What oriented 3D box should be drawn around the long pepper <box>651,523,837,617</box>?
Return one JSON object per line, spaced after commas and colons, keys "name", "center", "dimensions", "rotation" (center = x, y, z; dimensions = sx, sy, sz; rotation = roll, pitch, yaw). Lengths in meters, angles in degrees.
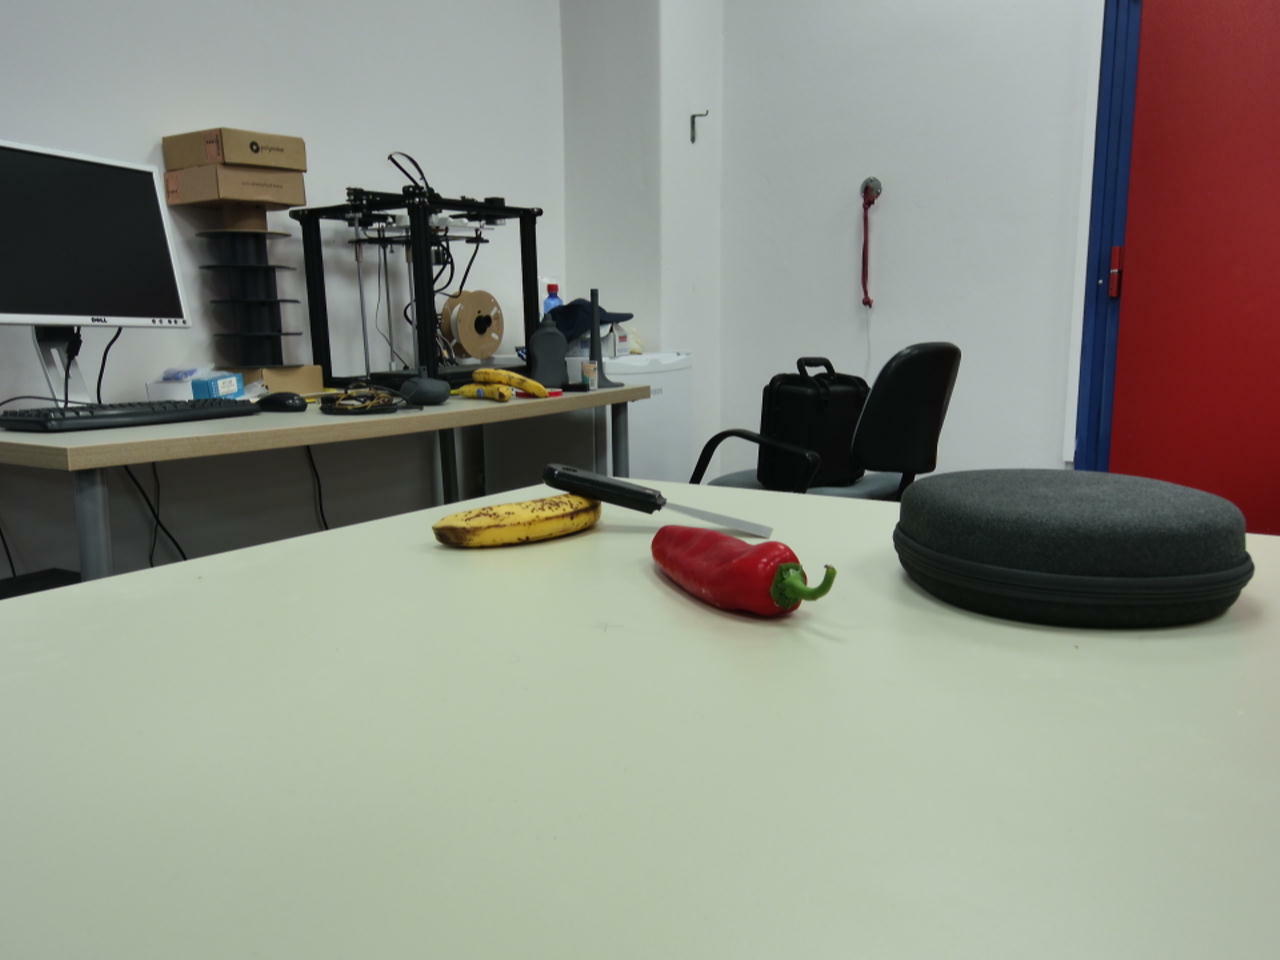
{"name": "long pepper", "center": [0.051, 0.051, 0.620], "dimensions": [0.050, 0.043, 0.211], "rotation": [-3, 7, -23]}
